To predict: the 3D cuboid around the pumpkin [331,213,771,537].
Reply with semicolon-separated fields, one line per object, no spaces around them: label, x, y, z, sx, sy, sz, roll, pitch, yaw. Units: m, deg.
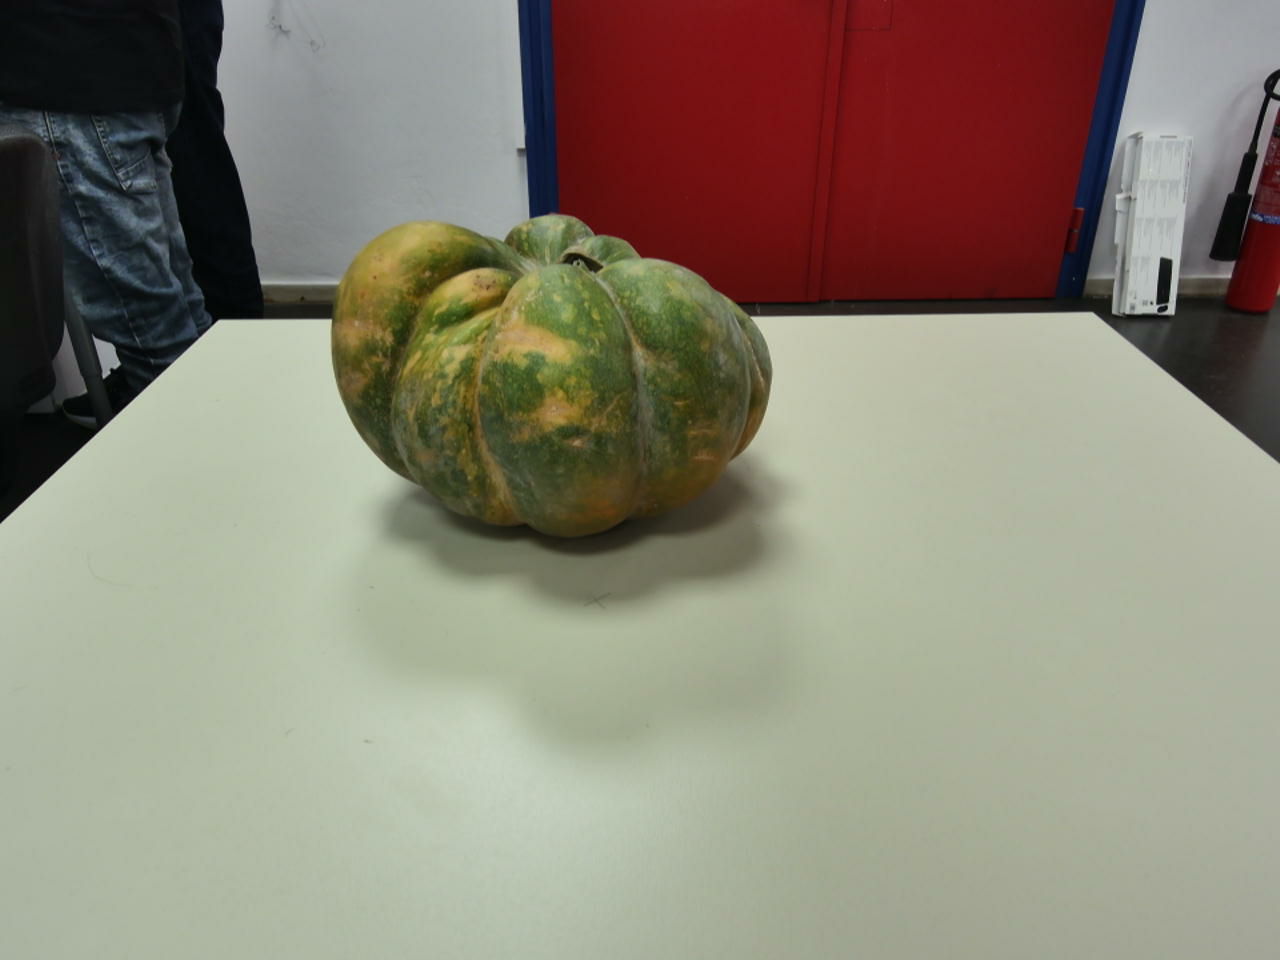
pumpkin;-0.051;-0.072;0.603;0.270;0.173;0.237;18;32;33
